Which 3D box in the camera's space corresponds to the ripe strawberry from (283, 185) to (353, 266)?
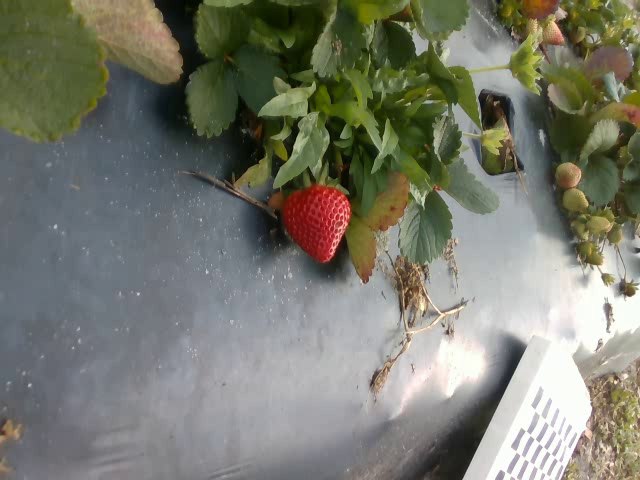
[{"bbox_3d":[-0.004,-0.009,0.348,0.042,0.051,0.043,-15,-20,35],"label":"ripe strawberry"}]
